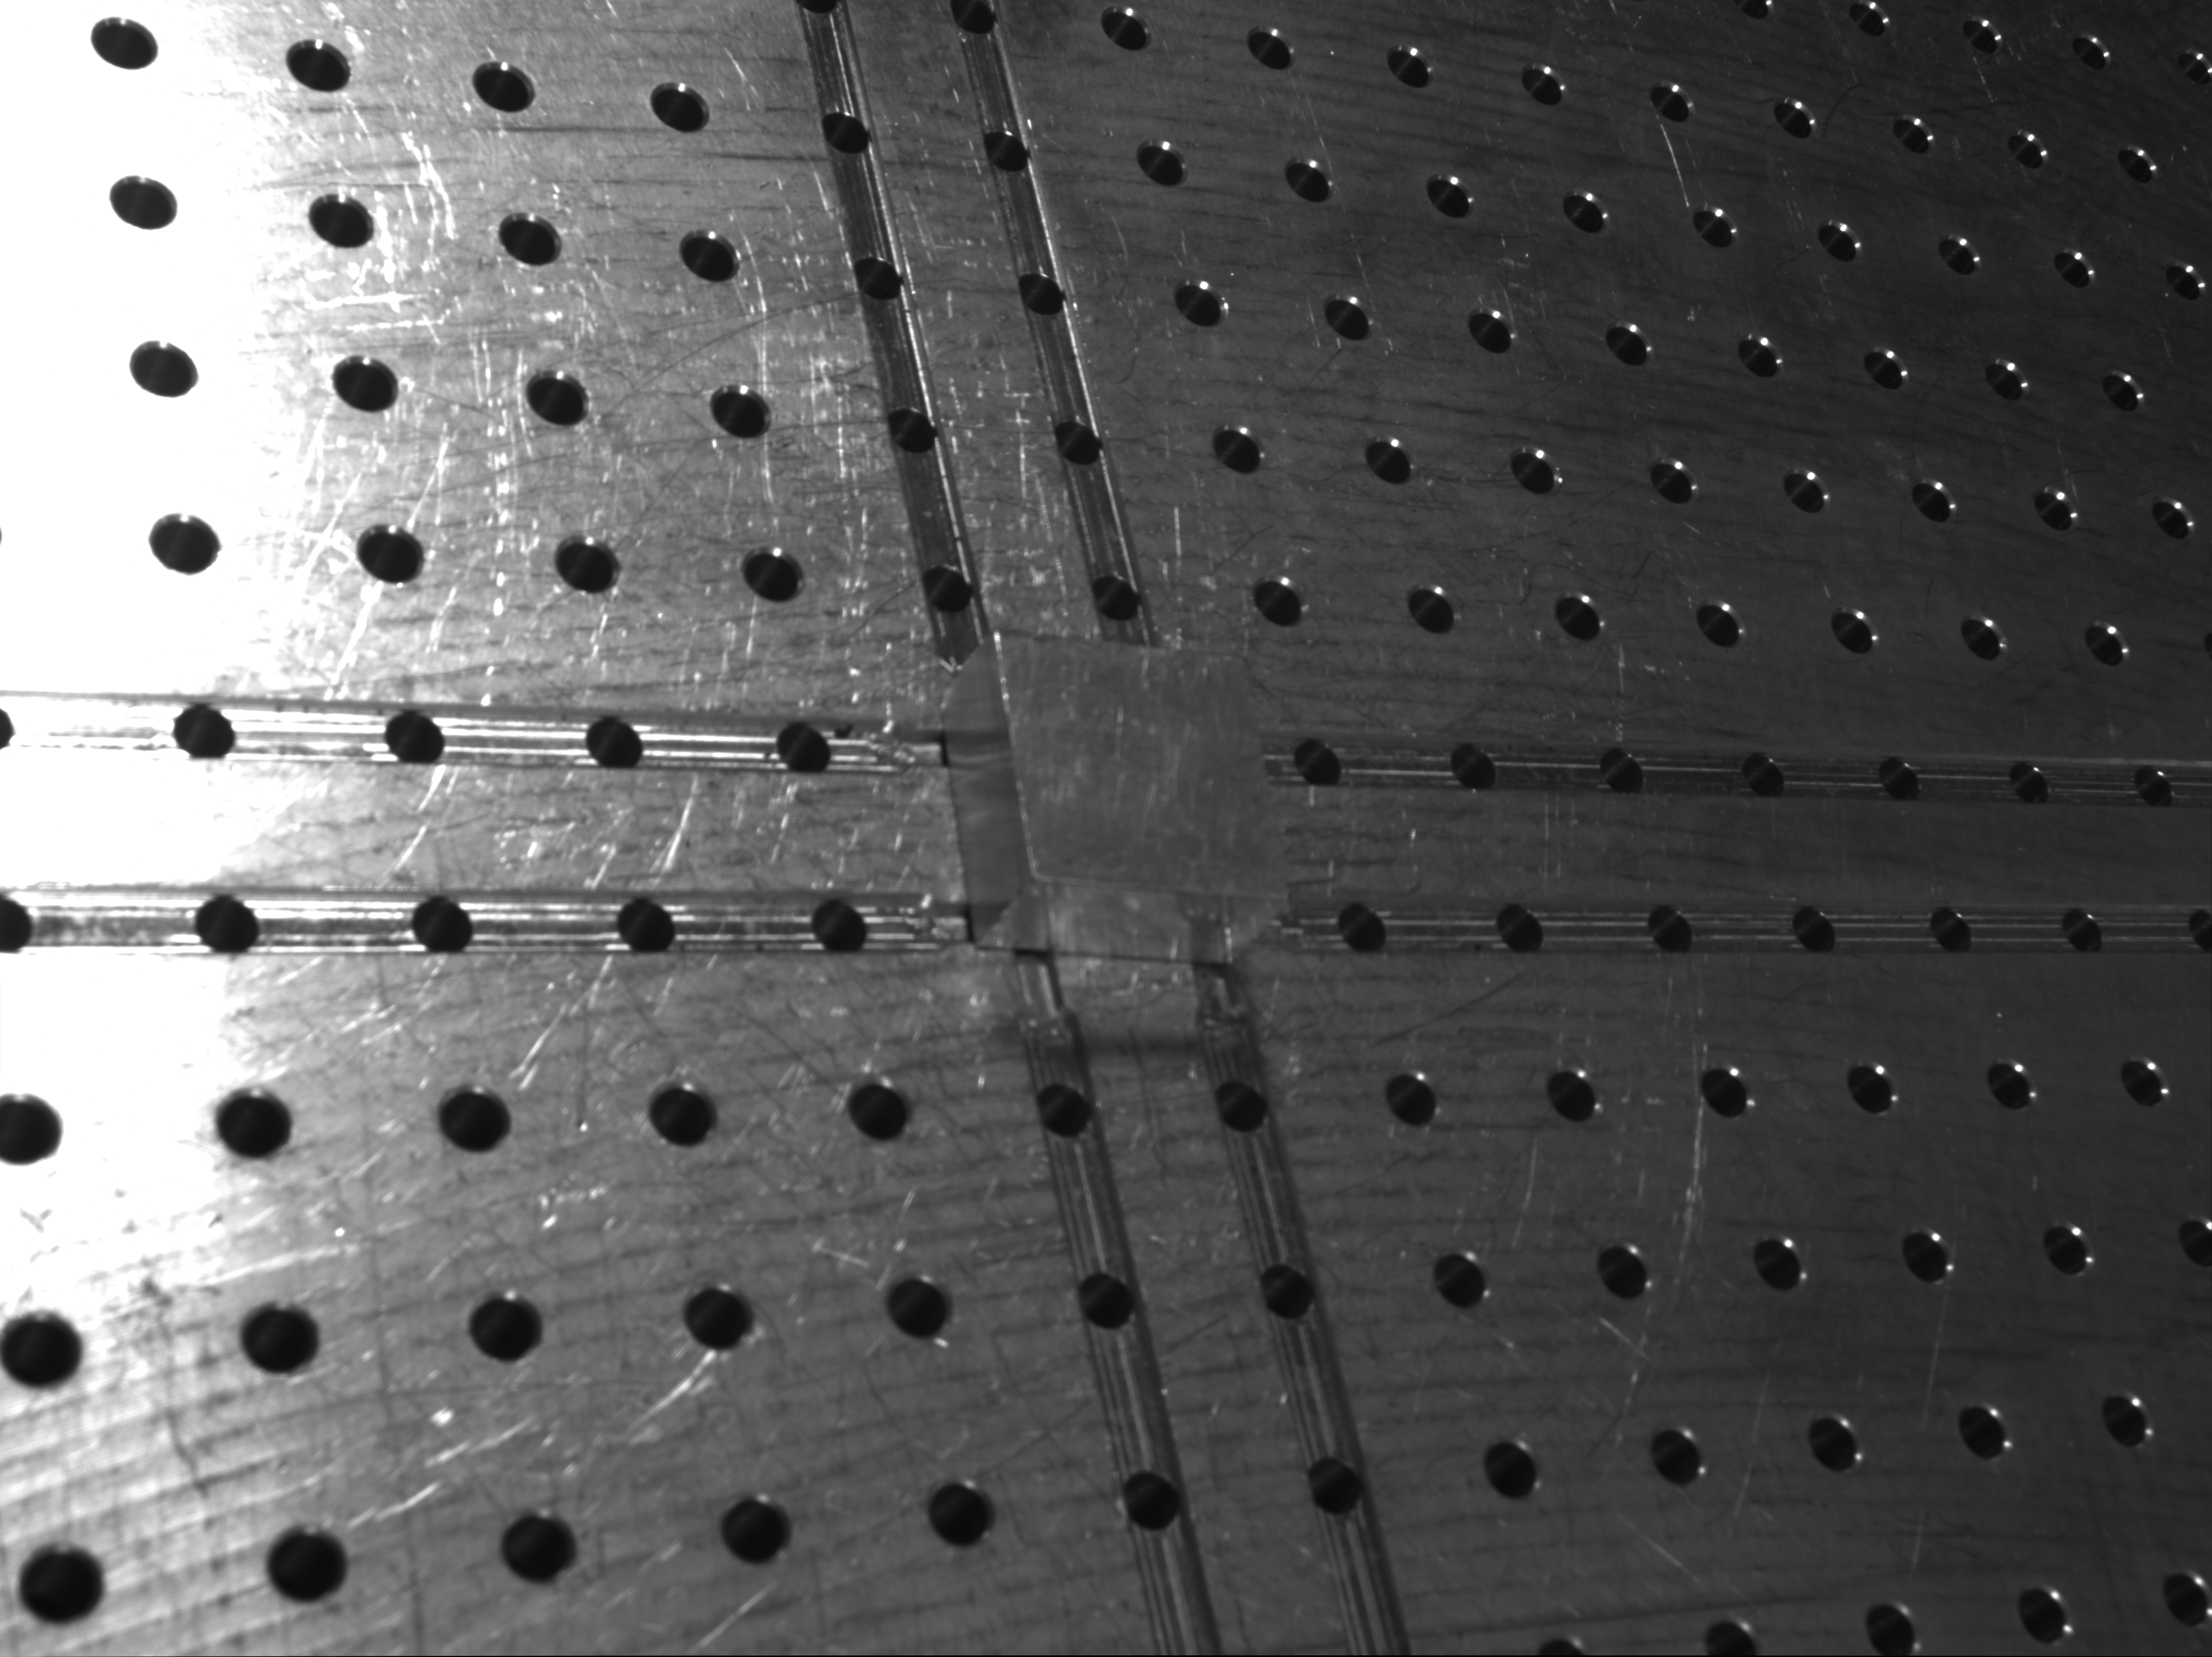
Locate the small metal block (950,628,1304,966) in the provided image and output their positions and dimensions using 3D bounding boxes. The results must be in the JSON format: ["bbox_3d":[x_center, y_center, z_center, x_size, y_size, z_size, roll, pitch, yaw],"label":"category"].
[{"bbox_3d":[0.003,-0.005,0.647,0.050,0.025,0.050,5,59,-26],"label":"small metal block"}]
